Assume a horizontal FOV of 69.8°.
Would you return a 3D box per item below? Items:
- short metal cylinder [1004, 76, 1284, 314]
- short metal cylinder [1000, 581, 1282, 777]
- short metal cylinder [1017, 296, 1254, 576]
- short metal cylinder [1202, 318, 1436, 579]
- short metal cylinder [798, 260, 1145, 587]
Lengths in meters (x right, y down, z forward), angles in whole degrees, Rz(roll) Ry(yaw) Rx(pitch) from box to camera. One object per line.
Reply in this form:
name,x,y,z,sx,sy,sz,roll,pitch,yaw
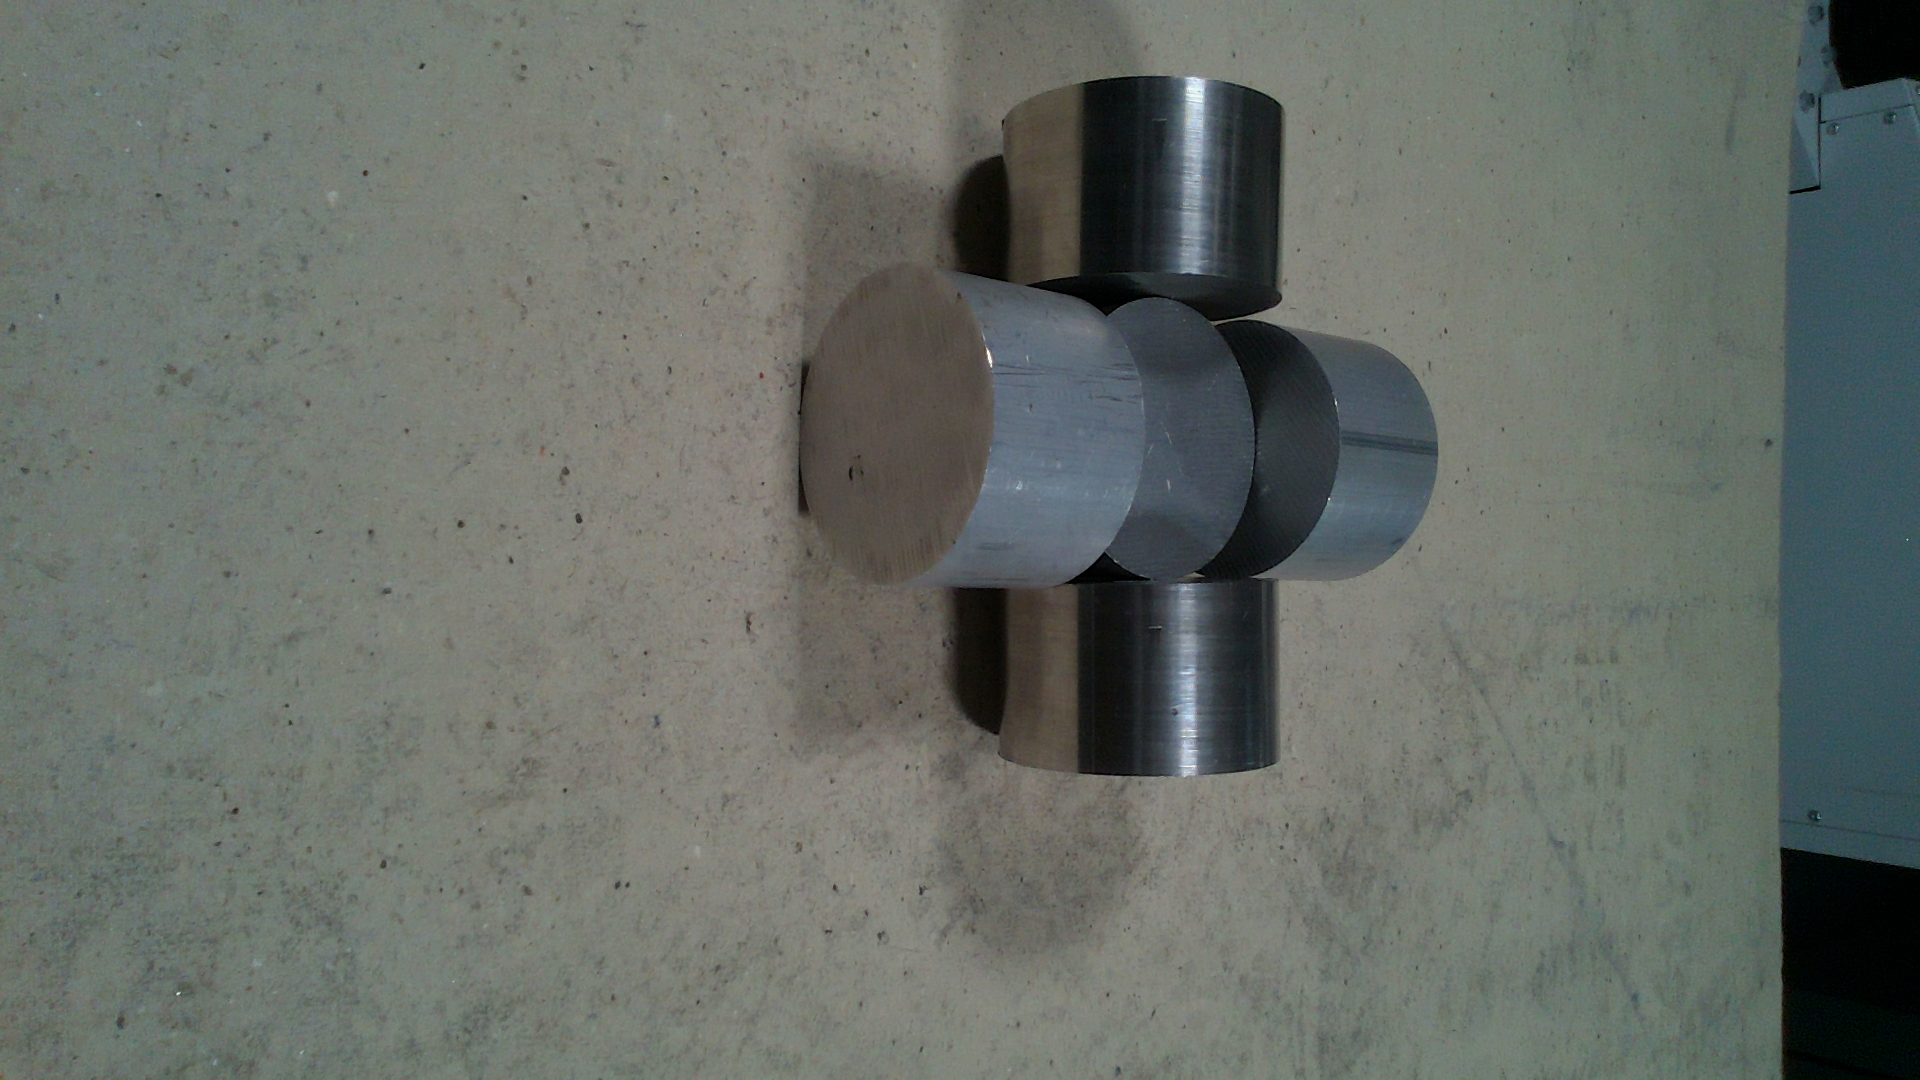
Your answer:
short metal cylinder,0.053,-0.095,0.396,0.080,0.080,0.050,2,89,-40
short metal cylinder,0.051,0.037,0.396,0.080,0.080,0.050,0,89,-40
short metal cylinder,0.042,-0.029,0.408,0.080,0.050,0.080,0,90,-40
short metal cylinder,0.102,-0.027,0.439,0.050,0.080,0.080,3,88,-40
short metal cylinder,0.001,-0.028,0.355,0.050,0.080,0.080,3,88,-40
